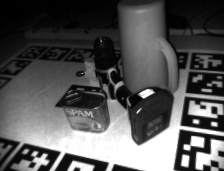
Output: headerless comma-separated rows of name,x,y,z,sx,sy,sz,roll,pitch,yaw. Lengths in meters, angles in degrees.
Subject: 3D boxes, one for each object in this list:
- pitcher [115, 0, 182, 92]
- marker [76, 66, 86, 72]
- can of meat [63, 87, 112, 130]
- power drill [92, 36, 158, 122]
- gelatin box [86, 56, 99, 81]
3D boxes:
pitcher,0.096,-0.096,0.547,0.134,0.245,0.186,-36,38,-22
marker,-0.058,-0.065,0.708,0.121,0.020,0.019,-13,40,-2
can of meat,-0.053,0.056,0.508,0.101,0.084,0.058,4,40,17
power drill,0.023,-0.016,0.503,0.058,0.186,0.184,-34,50,-21
gelatin box,-0.028,-0.045,0.638,0.088,0.074,0.030,14,50,25
